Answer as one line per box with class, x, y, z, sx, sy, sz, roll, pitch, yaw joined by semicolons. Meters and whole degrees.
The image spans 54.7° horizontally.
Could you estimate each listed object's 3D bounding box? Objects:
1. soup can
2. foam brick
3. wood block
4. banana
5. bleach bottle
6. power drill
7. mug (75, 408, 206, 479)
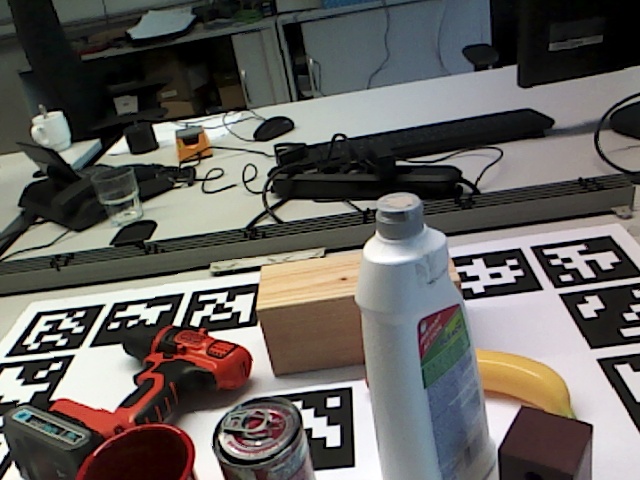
soup can;-0.038;0.171;0.472;0.068;0.102;0.068;-8;22;3
foam brick;0.166;0.168;0.446;0.053;0.078;0.051;7;29;37
wood block;0.047;0.073;0.669;0.206;0.090;0.090;-9;27;5
banana;0.128;0.121;0.591;0.198;0.038;0.074;1;42;19
bleach bottle;0.075;0.080;0.457;0.068;0.250;0.102;6;29;32
power drill;-0.183;0.159;0.629;0.186;0.057;0.186;9;31;29
mug;-0.142;0.202;0.485;0.094;0.081;0.117;18;41;42
